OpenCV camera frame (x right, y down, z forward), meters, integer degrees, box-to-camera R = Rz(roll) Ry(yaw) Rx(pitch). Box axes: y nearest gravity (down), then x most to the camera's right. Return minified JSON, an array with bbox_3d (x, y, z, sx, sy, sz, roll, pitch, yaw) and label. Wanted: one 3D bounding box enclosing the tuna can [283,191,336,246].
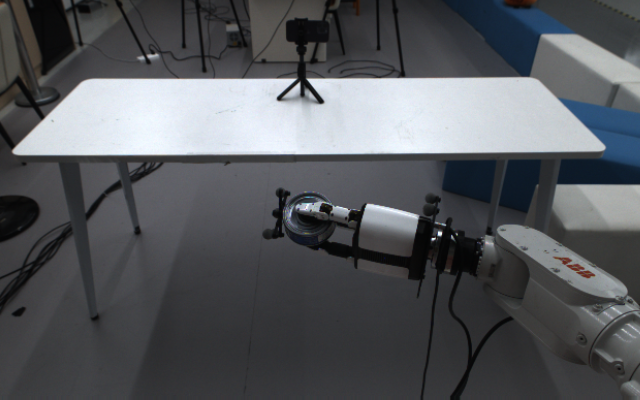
[{"bbox_3d":[-0.015,0.029,0.780,0.085,0.034,0.085,-2,58,3],"label":"tuna can"}]
